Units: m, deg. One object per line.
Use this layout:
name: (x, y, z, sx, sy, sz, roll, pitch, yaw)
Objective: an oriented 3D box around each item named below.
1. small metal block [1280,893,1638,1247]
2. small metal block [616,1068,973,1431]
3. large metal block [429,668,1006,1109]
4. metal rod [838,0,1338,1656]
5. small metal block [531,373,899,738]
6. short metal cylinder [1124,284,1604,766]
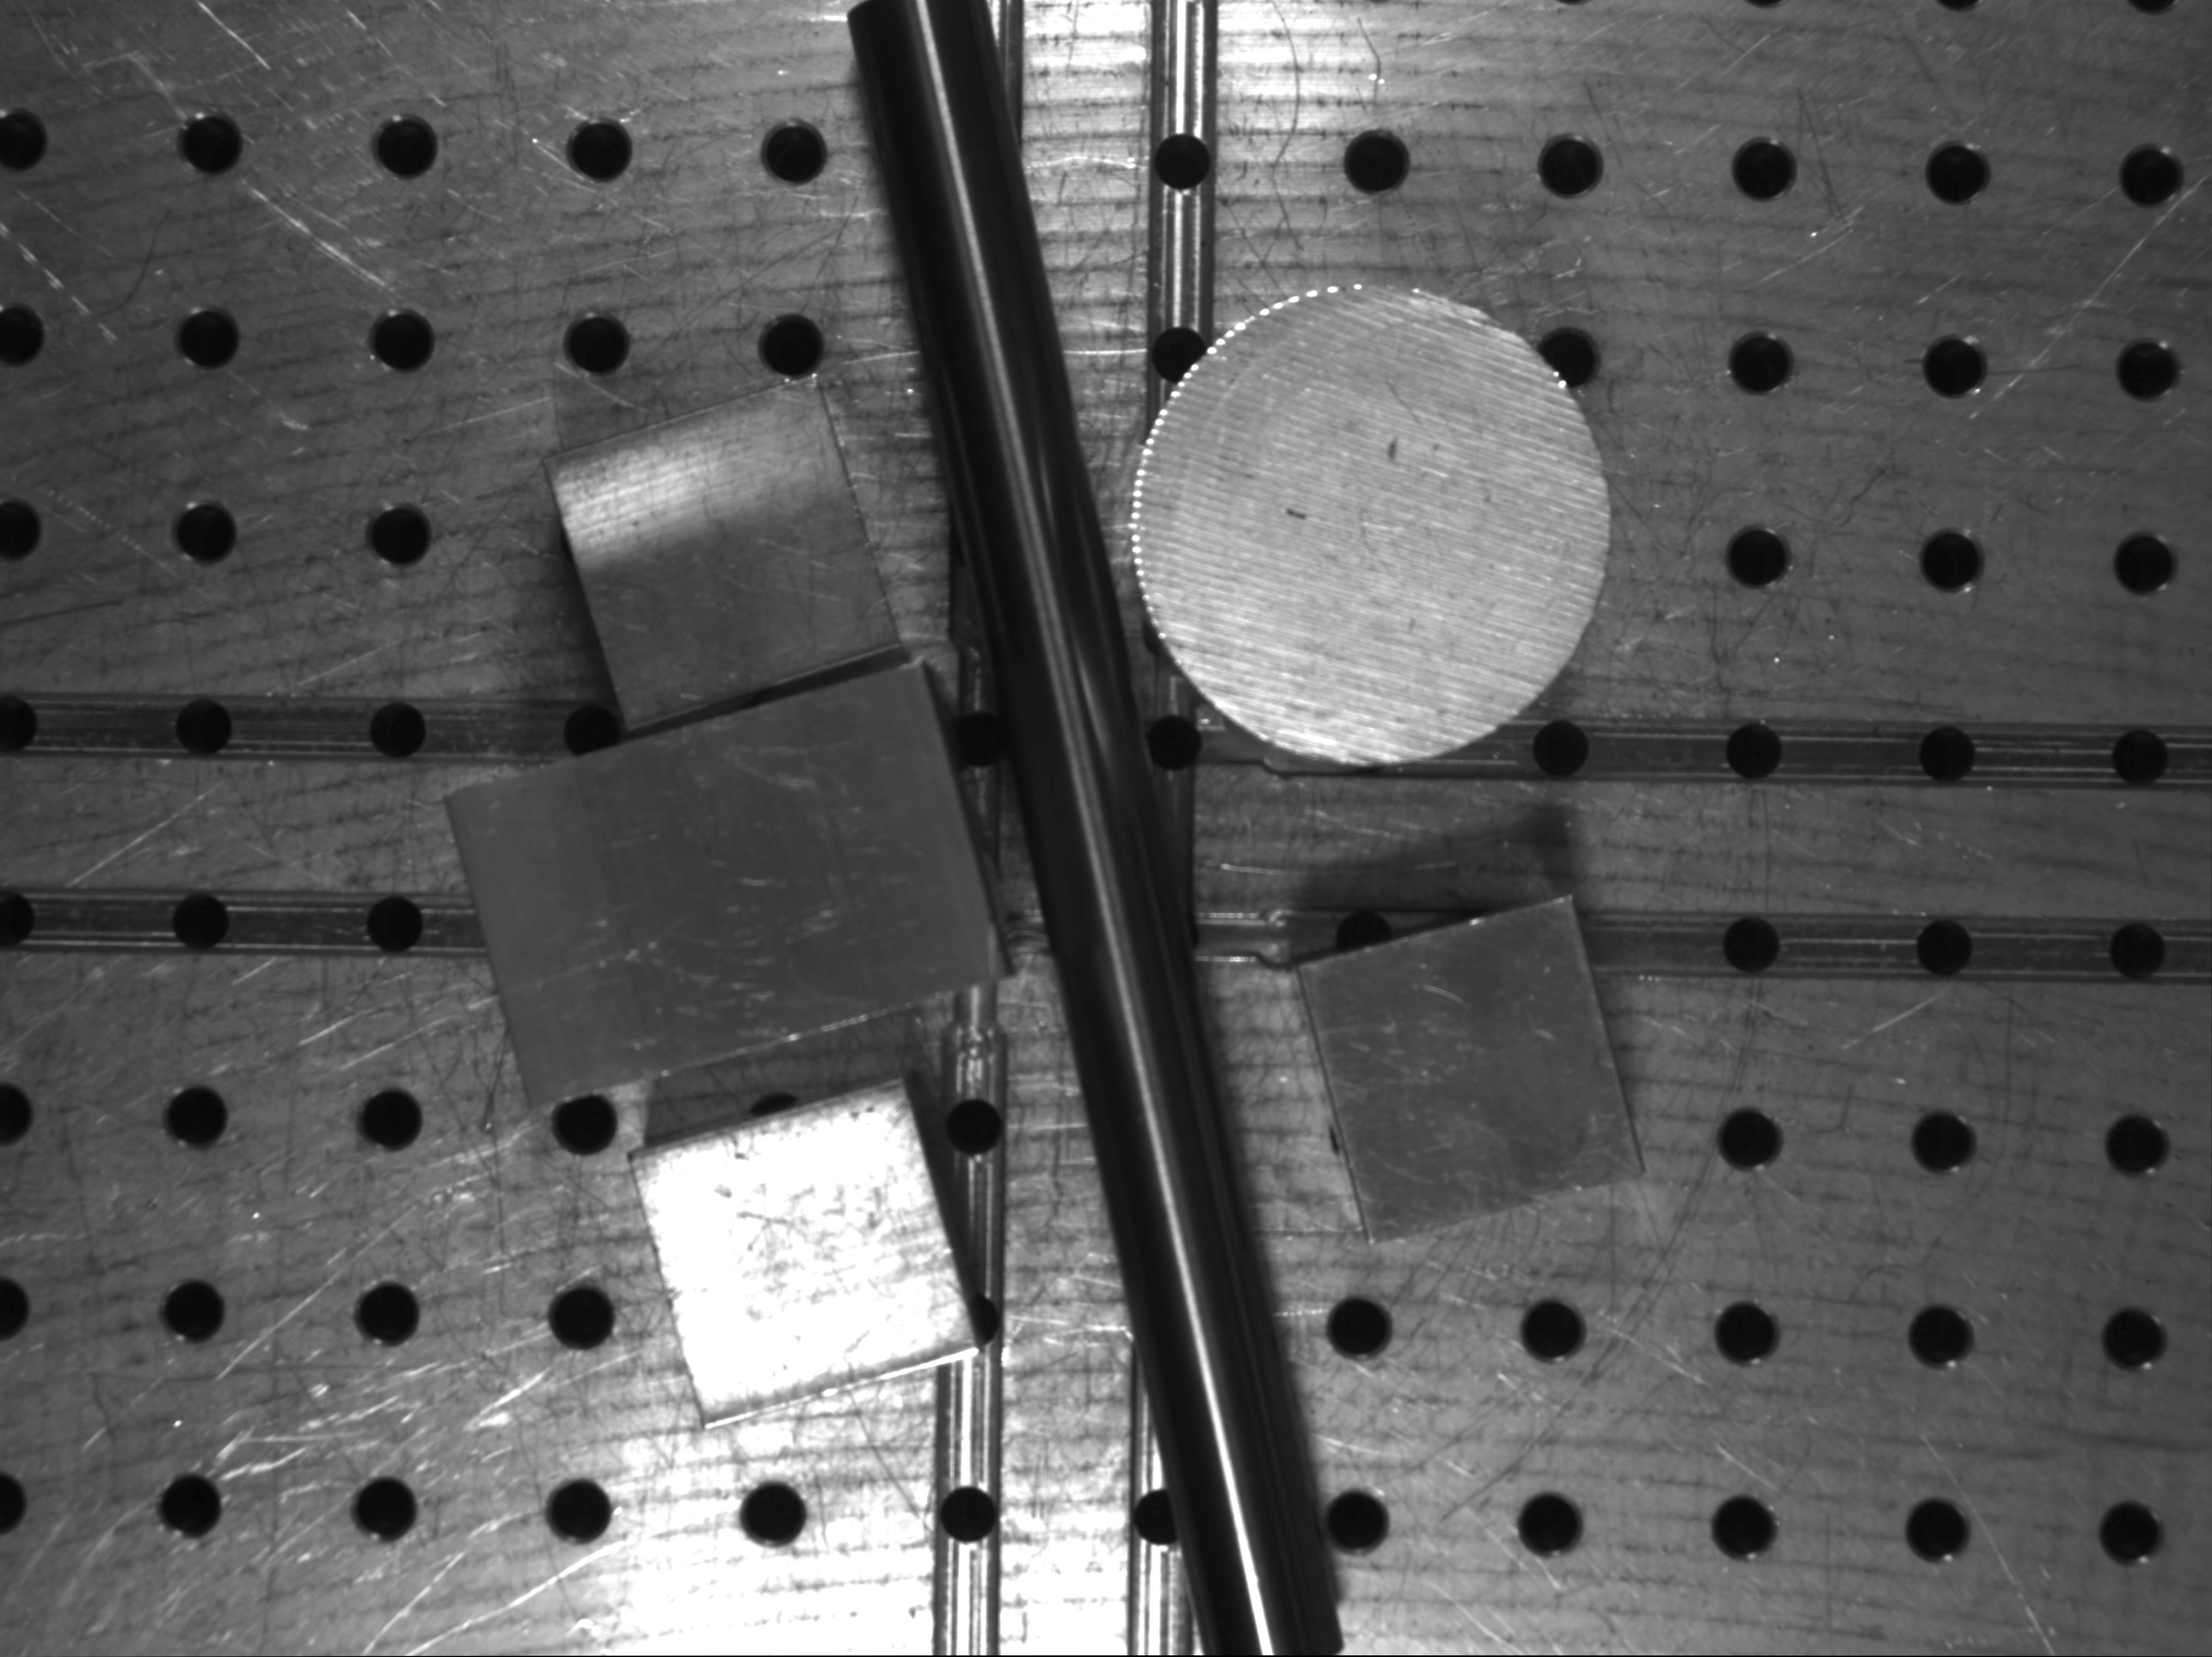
small metal block: (0.062, 0.042, 0.648, 0.050, 0.025, 0.050, -15, 90, 0)
small metal block: (-0.054, 0.074, 0.647, 0.050, 0.025, 0.050, -16, 90, 0)
large metal block: (-0.062, 0.010, 0.618, 0.080, 0.080, 0.050, -15, 90, 0)
metal rod: (-0.003, 0.001, 0.647, 0.025, 0.025, 0.300, -12, 90, 0)
small metal block: (-0.068, -0.048, 0.647, 0.050, 0.025, 0.050, -17, 90, 0)
short metal cylinder: (0.043, -0.051, 0.635, 0.080, 0.050, 0.080, 0, 90, 0)
